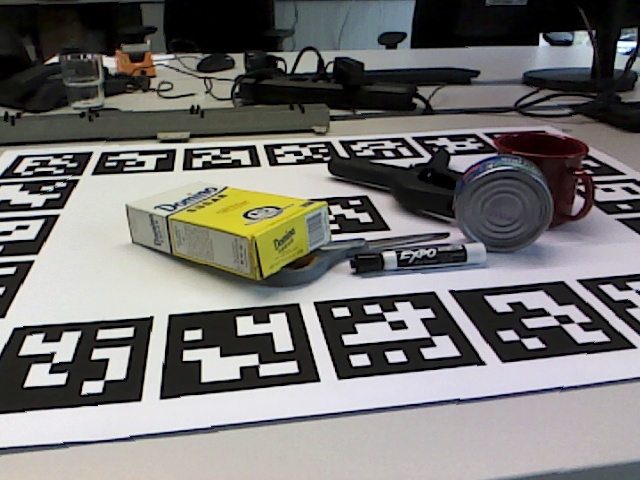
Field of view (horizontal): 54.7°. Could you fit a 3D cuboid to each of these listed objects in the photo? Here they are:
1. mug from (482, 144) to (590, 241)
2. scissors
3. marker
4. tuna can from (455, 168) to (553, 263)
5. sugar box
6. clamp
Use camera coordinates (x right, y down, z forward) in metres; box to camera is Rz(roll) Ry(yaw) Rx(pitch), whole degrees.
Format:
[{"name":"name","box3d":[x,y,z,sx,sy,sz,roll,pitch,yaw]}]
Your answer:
[{"name":"mug","box3d":[0.220,-0.045,0.637,0.093,0.081,0.118,-18,29,-33]},{"name":"scissors","box3d":[0.024,0.011,0.577,0.202,0.016,0.088,-7,25,-19]},{"name":"marker","box3d":[0.076,0.029,0.548,0.121,0.019,0.020,-6,29,-12]},{"name":"tuna can","box3d":[0.171,-0.022,0.579,0.086,0.085,0.034,4,27,6]},{"name":"sugar box","box3d":[-0.085,-0.007,0.574,0.178,0.045,0.092,18,31,41]},{"name":"clamp","box3d":[0.115,-0.055,0.717,0.165,0.036,0.204,-8,30,-18]}]
